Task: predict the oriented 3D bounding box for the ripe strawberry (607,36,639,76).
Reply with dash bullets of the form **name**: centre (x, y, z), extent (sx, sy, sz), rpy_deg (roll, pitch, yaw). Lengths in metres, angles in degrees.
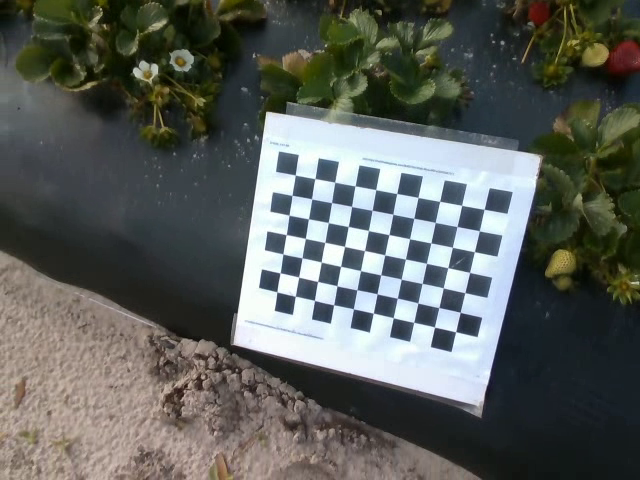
- **ripe strawberry**: centre (0.417, -0.243, 0.806), extent (0.048, 0.051, 0.055), rpy_deg (34, 19, -31)
